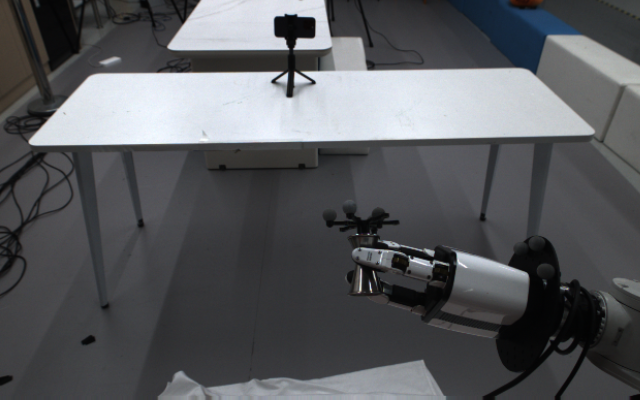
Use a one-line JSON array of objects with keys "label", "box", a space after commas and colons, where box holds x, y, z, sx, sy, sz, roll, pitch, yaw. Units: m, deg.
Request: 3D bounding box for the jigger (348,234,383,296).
[{"label": "jigger", "box": [0.054, 0.075, 0.566, 0.043, 0.043, 0.071, 0, 75, -3]}]
